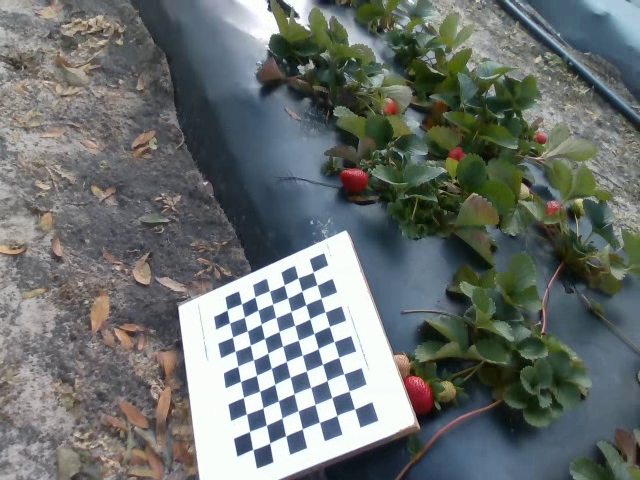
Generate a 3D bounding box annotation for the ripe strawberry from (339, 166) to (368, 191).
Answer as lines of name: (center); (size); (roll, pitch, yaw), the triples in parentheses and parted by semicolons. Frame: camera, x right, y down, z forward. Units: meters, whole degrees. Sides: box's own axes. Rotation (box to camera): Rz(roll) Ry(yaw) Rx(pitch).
ripe strawberry: (0.054, -0.110, 1.023); (0.049, 0.050, 0.053); (-42, -37, 20)
